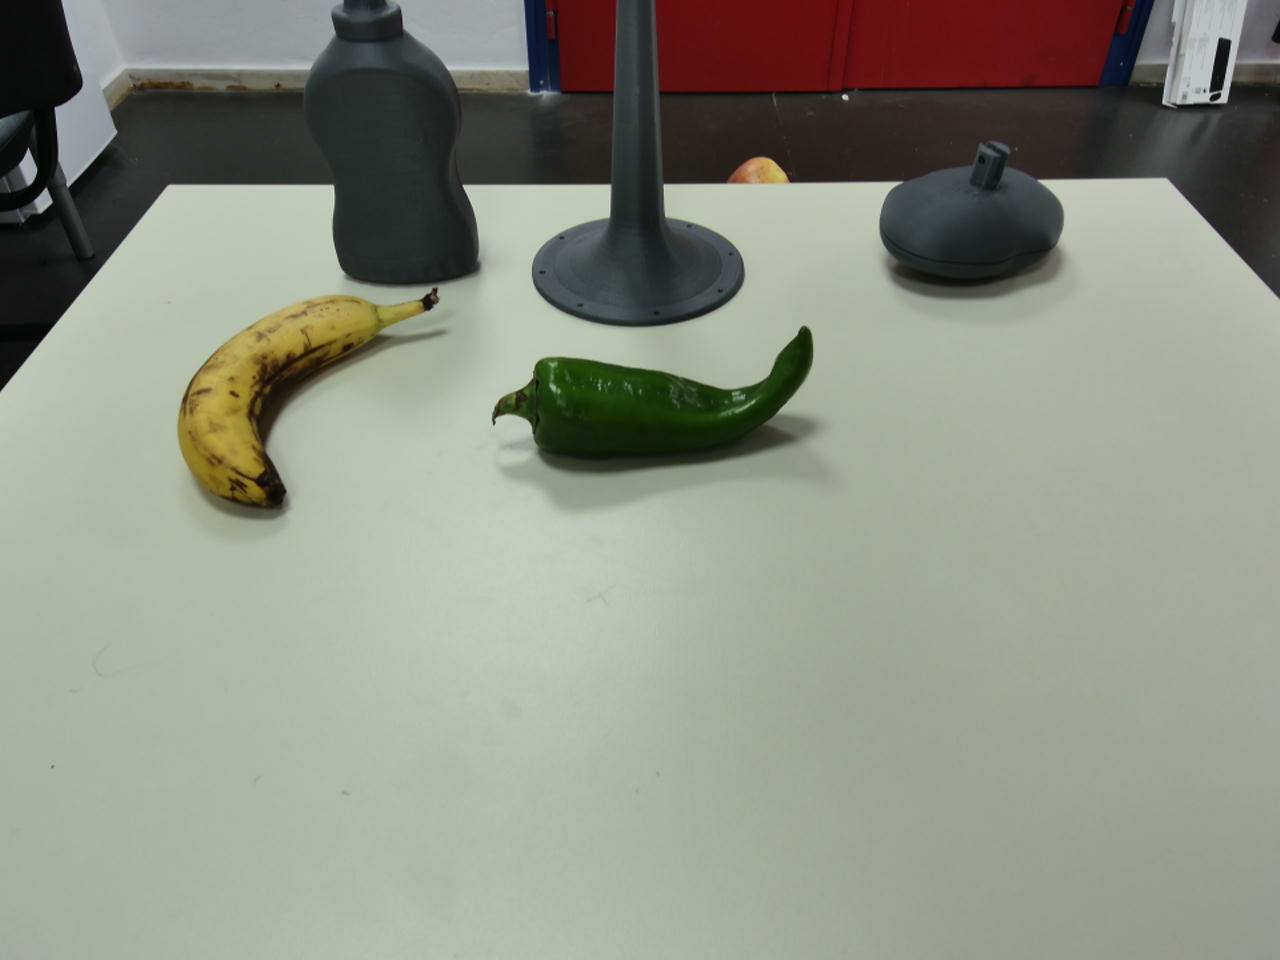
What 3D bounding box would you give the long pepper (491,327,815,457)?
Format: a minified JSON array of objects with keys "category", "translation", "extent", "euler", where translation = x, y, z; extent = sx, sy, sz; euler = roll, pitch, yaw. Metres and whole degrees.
[{"category":"long pepper","translation":[0.007,-0.047,0.538],"extent":[0.175,0.065,0.058],"euler":[-1,39,-1]}]
